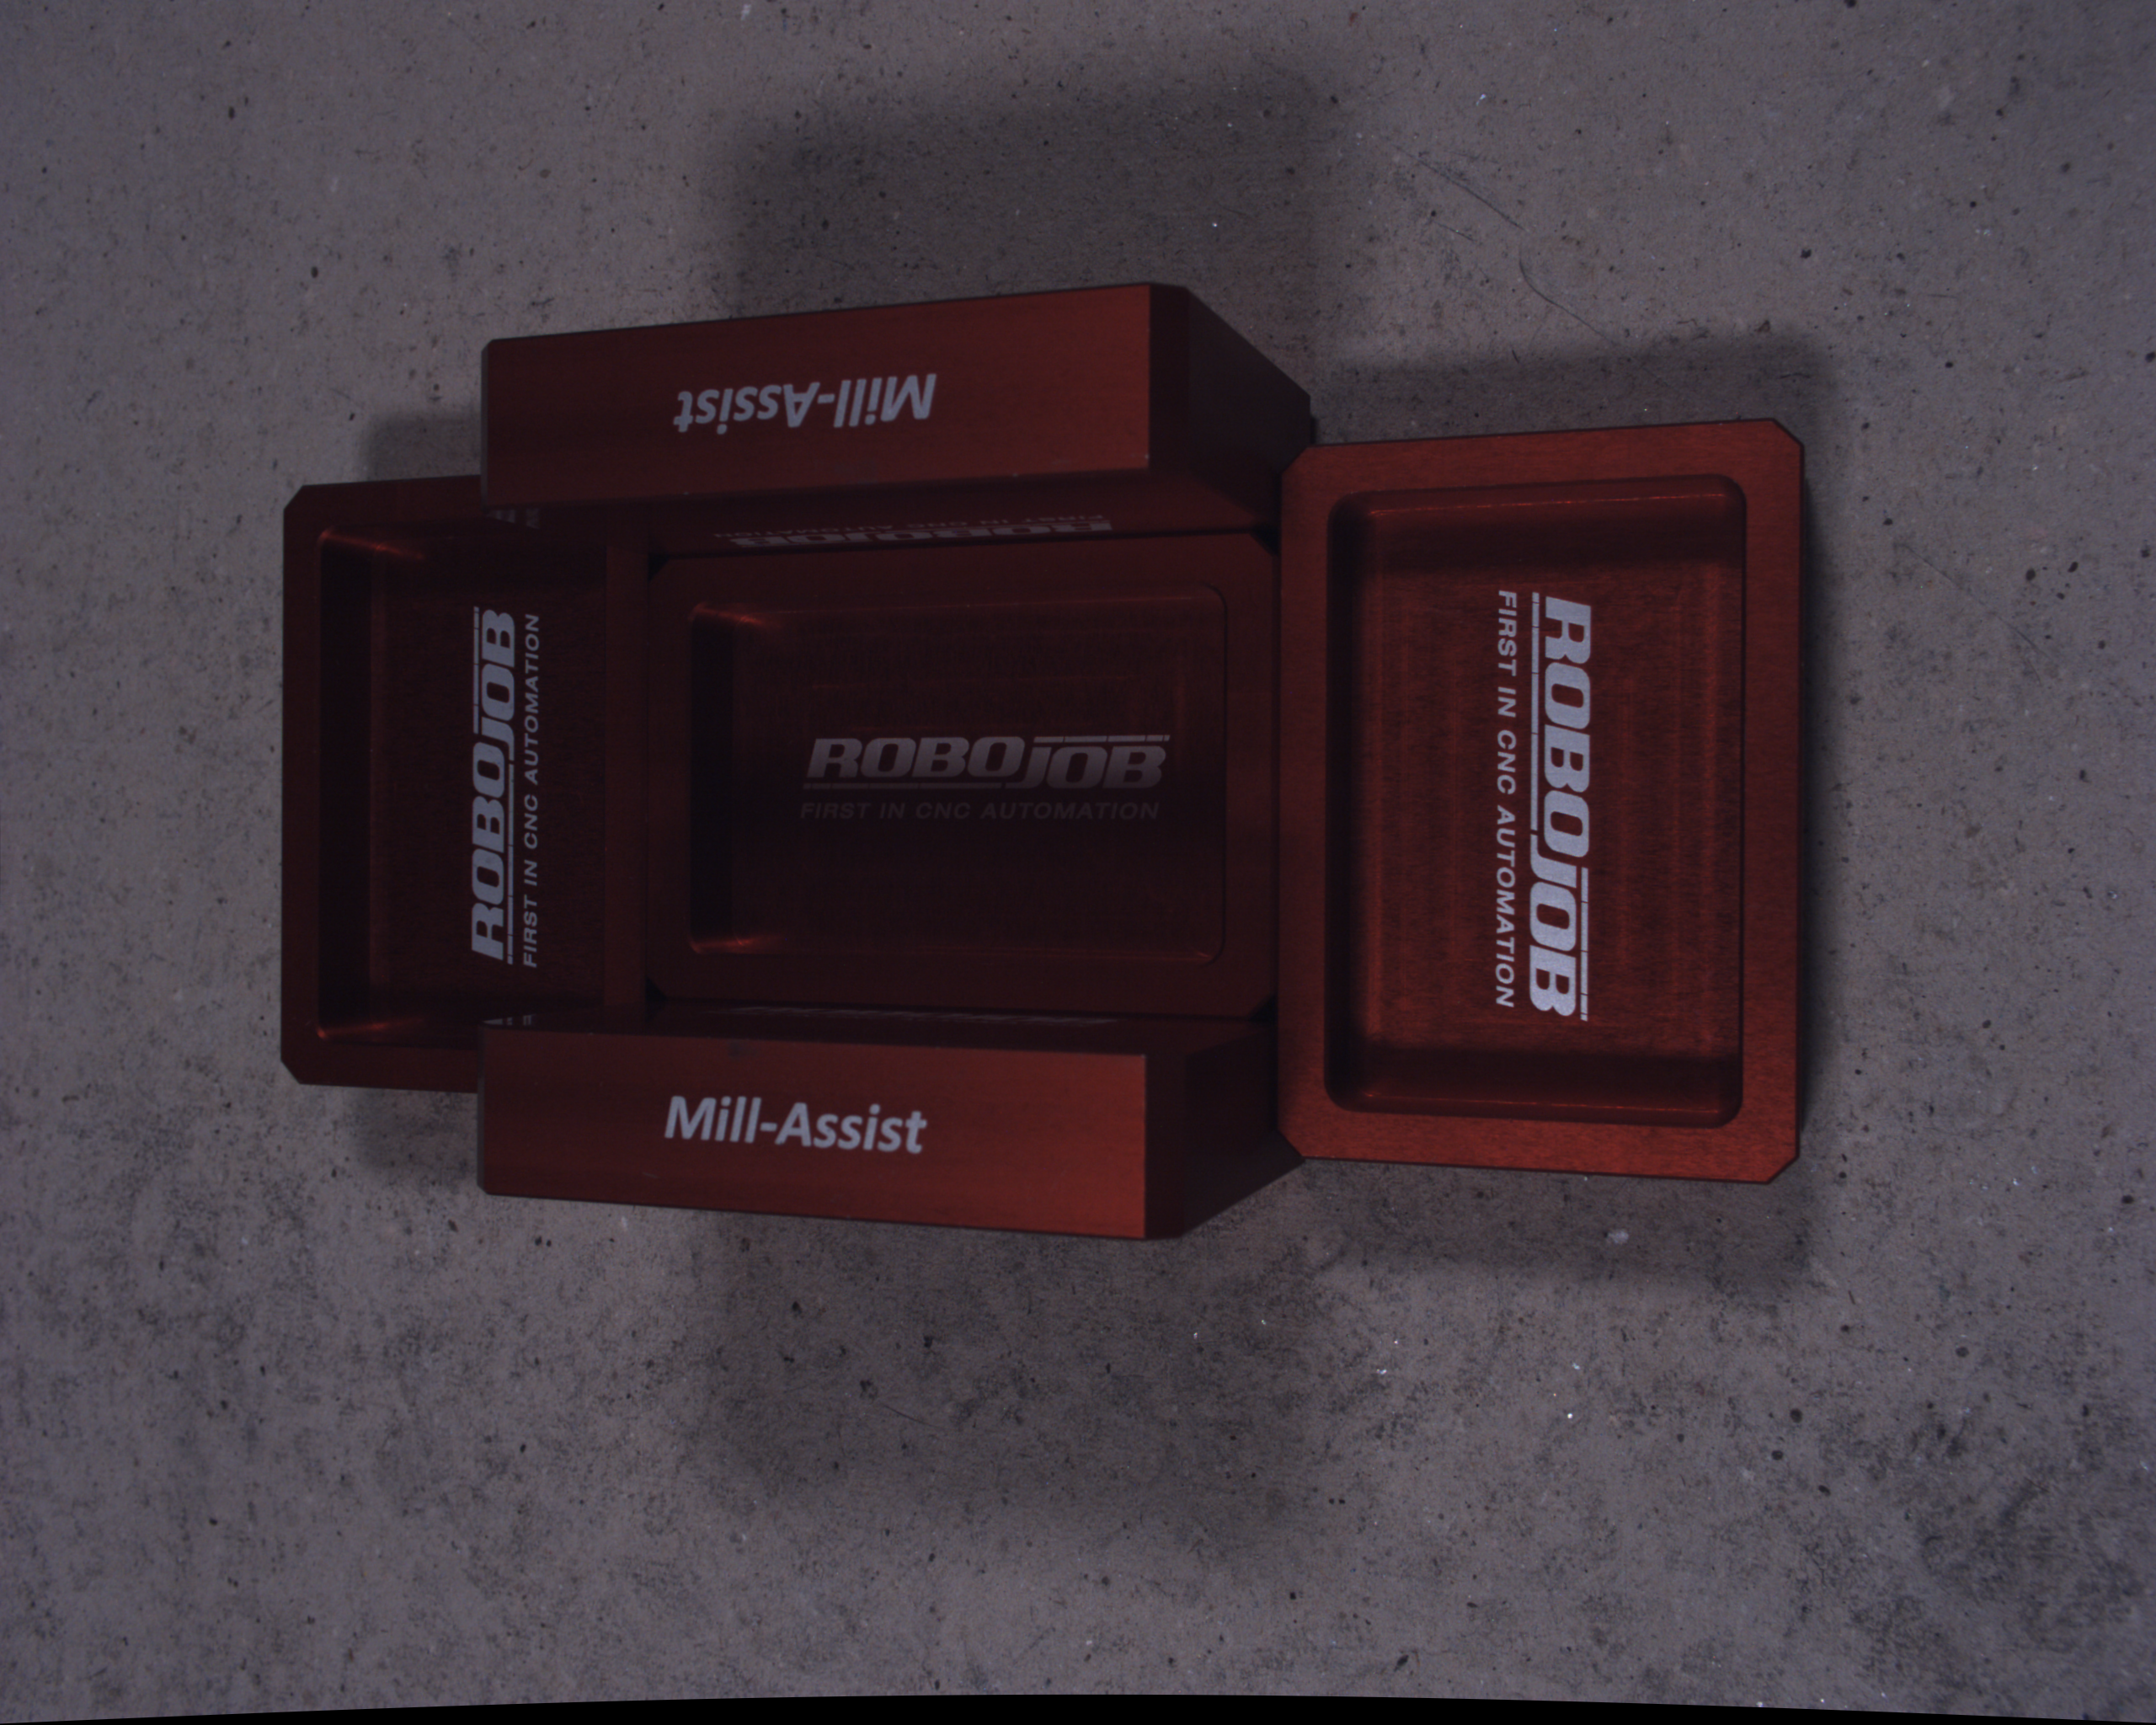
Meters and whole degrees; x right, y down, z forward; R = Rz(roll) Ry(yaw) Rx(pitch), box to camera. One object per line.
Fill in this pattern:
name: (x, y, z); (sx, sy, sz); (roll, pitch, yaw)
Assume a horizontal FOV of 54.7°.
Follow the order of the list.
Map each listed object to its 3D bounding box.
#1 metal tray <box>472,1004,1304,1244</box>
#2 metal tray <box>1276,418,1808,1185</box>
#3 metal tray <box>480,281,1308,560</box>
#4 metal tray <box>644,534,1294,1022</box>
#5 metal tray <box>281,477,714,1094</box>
metal tray: (-0.032, 0.044, 0.384); (0.130, 0.090, 0.030); (0, 90, 19)
metal tray: (0.084, -0.011, 0.377); (0.090, 0.030, 0.129); (1, 90, 19)
metal tray: (-0.031, -0.076, 0.386); (0.130, 0.090, 0.030); (0, 90, 19)
metal tray: (-0.021, -0.016, 0.414); (0.130, 0.030, 0.089); (1, 90, 19)
metal tray: (-0.125, -0.016, 0.450); (0.090, 0.030, 0.129); (1, 90, 19)
